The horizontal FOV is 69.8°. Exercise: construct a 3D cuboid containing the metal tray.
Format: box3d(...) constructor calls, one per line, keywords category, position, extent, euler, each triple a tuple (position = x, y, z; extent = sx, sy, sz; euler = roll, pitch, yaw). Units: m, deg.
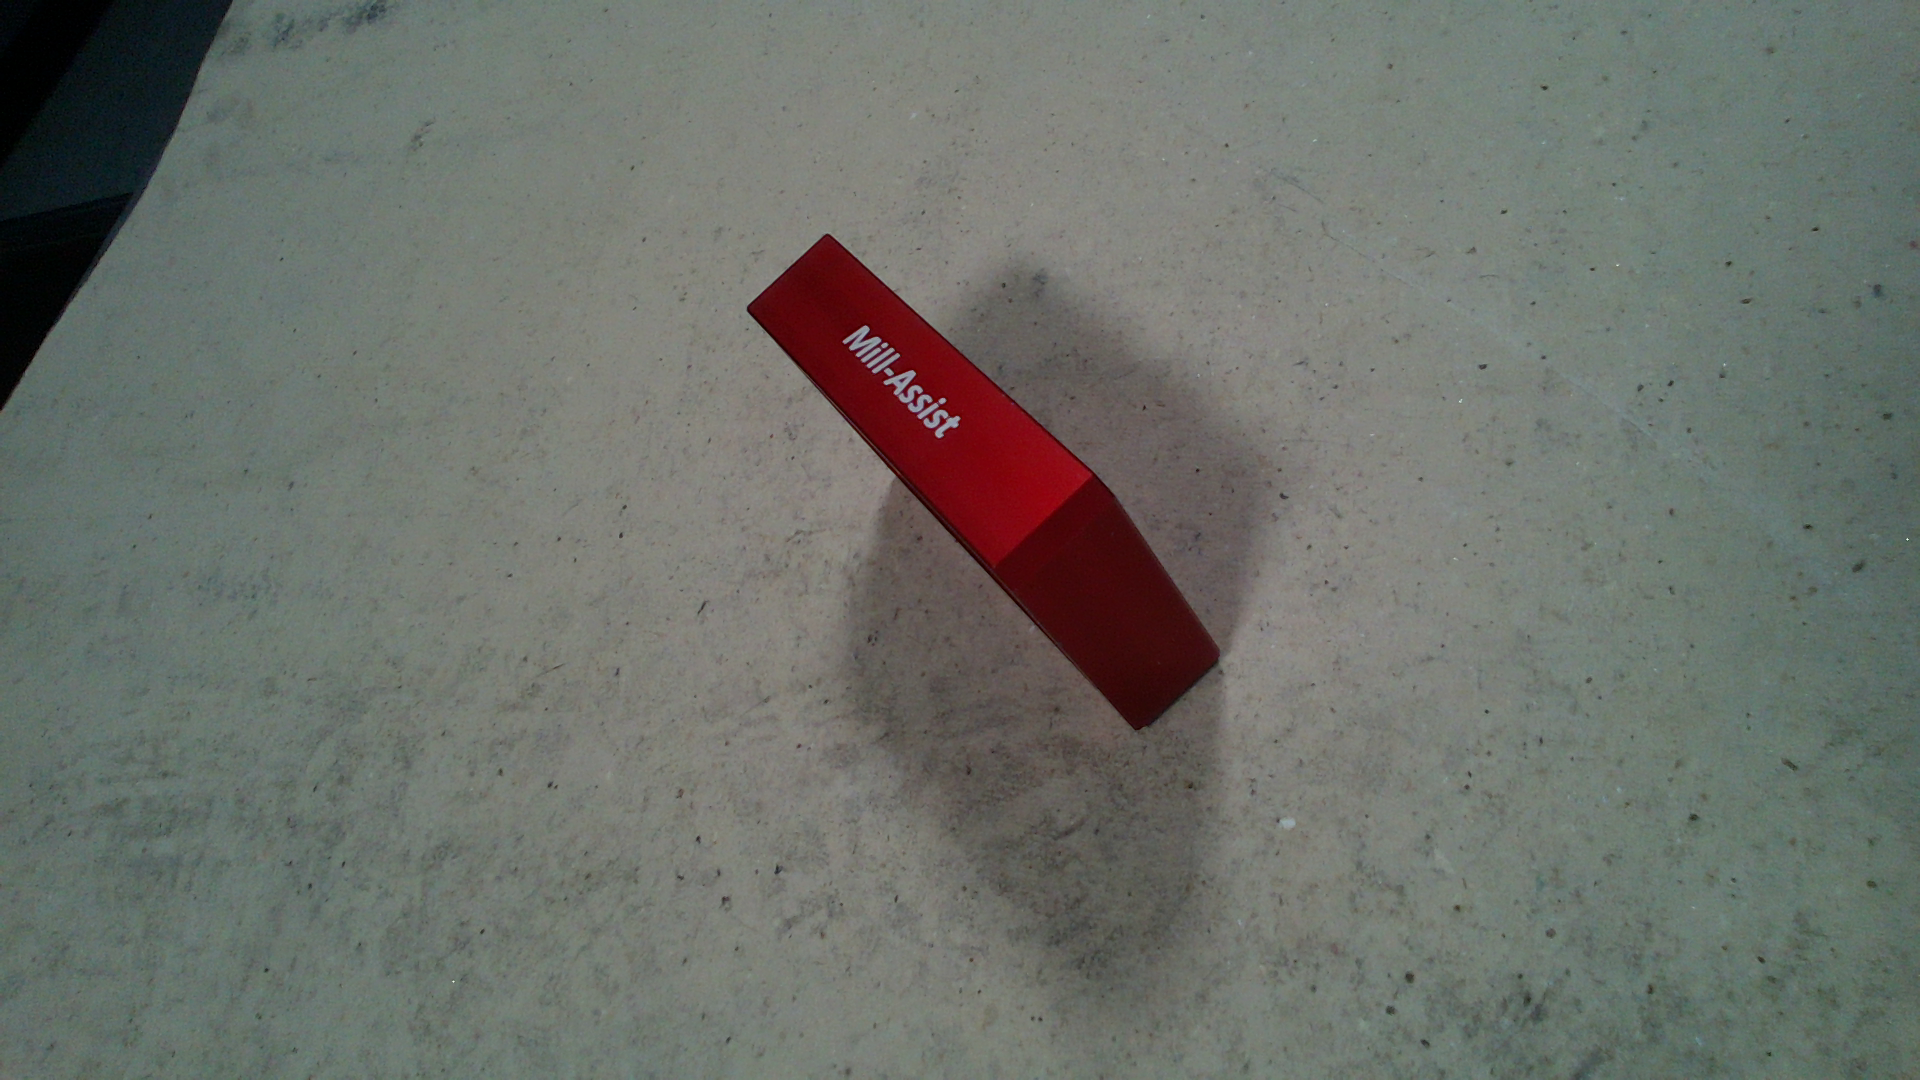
box3d(category="metal tray", position=(0.005, -0.017, 0.360), extent=(0.030, 0.090, 0.130), euler=(-43, 51, -1))
